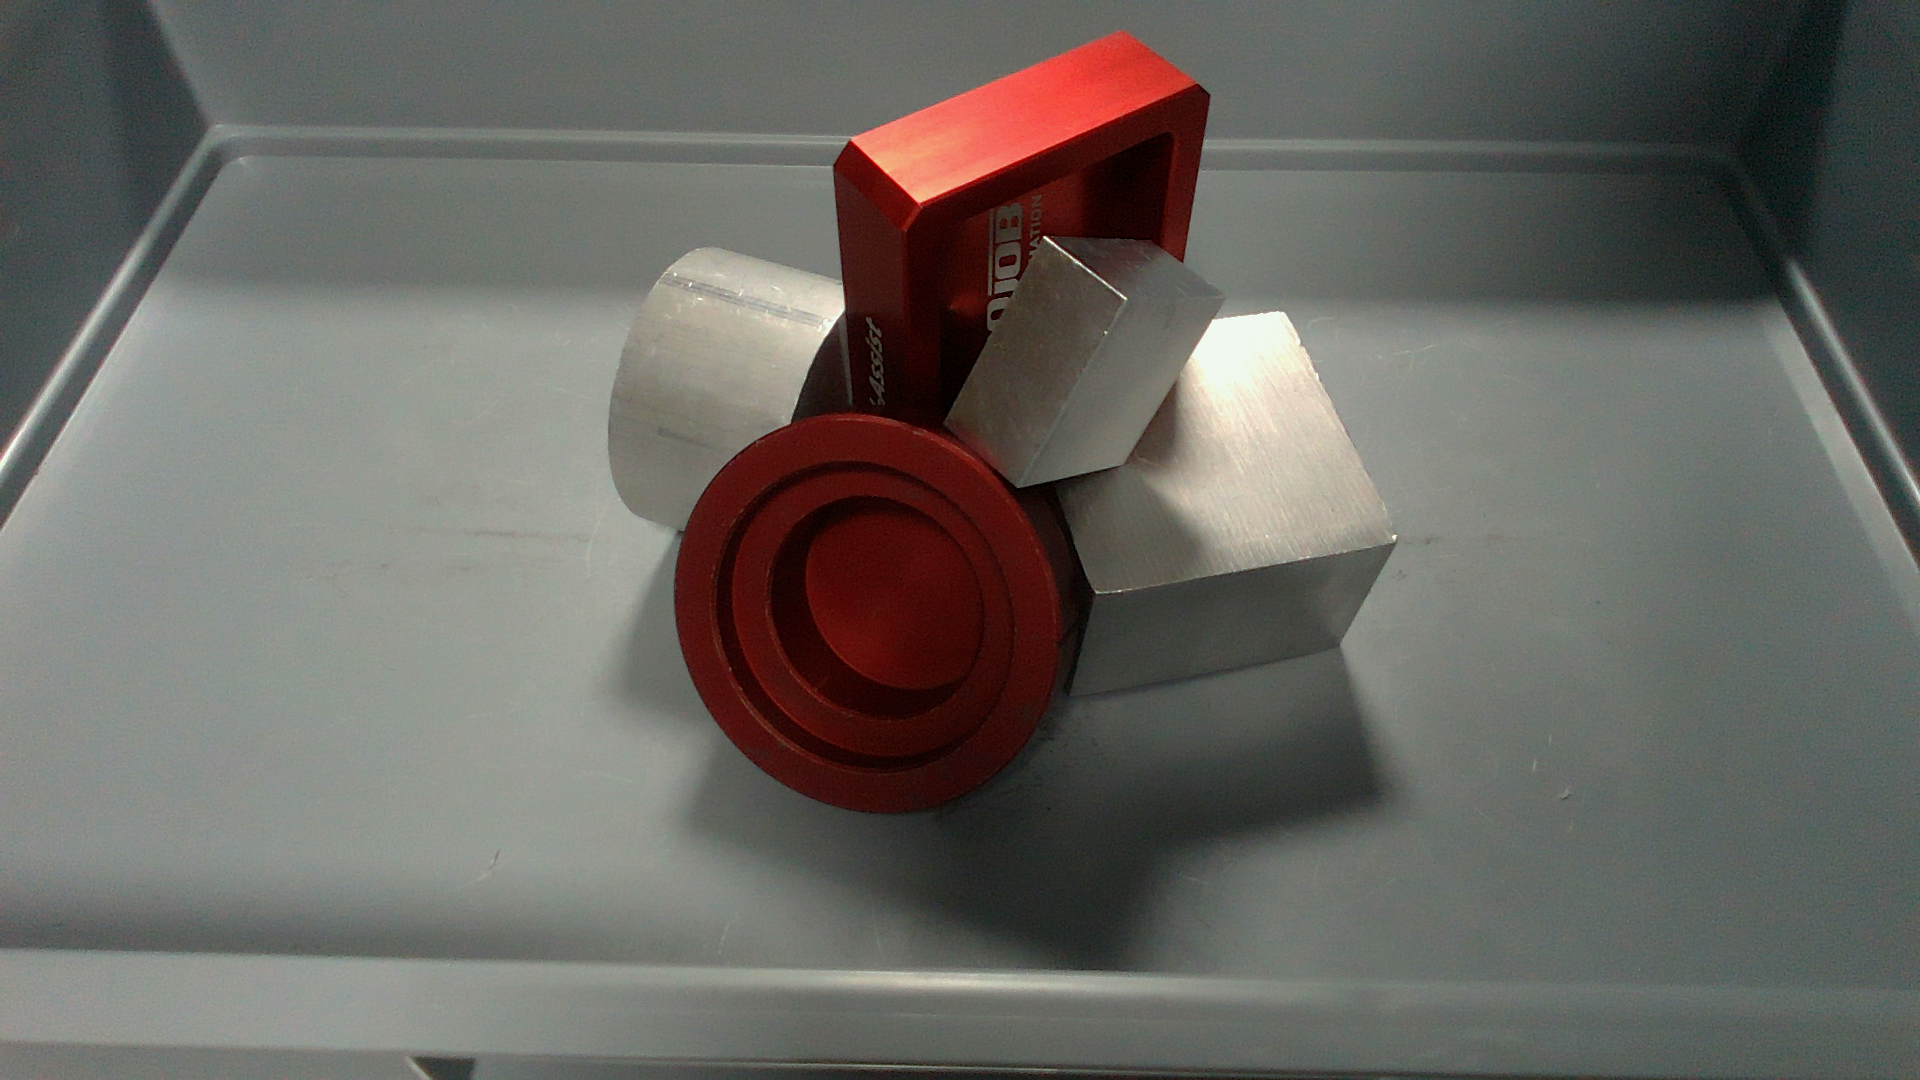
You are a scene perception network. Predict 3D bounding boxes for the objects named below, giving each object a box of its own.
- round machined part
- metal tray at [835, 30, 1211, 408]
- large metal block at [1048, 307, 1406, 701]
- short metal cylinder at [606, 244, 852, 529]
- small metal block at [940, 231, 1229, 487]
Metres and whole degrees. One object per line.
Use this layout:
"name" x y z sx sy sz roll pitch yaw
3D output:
"round machined part" -0.018 0.014 0.343 0.098 0.098 0.042 16 16 13
"metal tray" 0.016 -0.059 0.371 0.090 0.130 0.030 -28 56 -22
"large metal block" 0.060 -0.011 0.373 0.080 0.050 0.080 -11 55 -9
"short metal cylinder" -0.055 -0.037 0.385 0.050 0.080 0.080 17 52 14
"small metal block" 0.029 -0.043 0.321 0.025 0.050 0.050 42 29 22
